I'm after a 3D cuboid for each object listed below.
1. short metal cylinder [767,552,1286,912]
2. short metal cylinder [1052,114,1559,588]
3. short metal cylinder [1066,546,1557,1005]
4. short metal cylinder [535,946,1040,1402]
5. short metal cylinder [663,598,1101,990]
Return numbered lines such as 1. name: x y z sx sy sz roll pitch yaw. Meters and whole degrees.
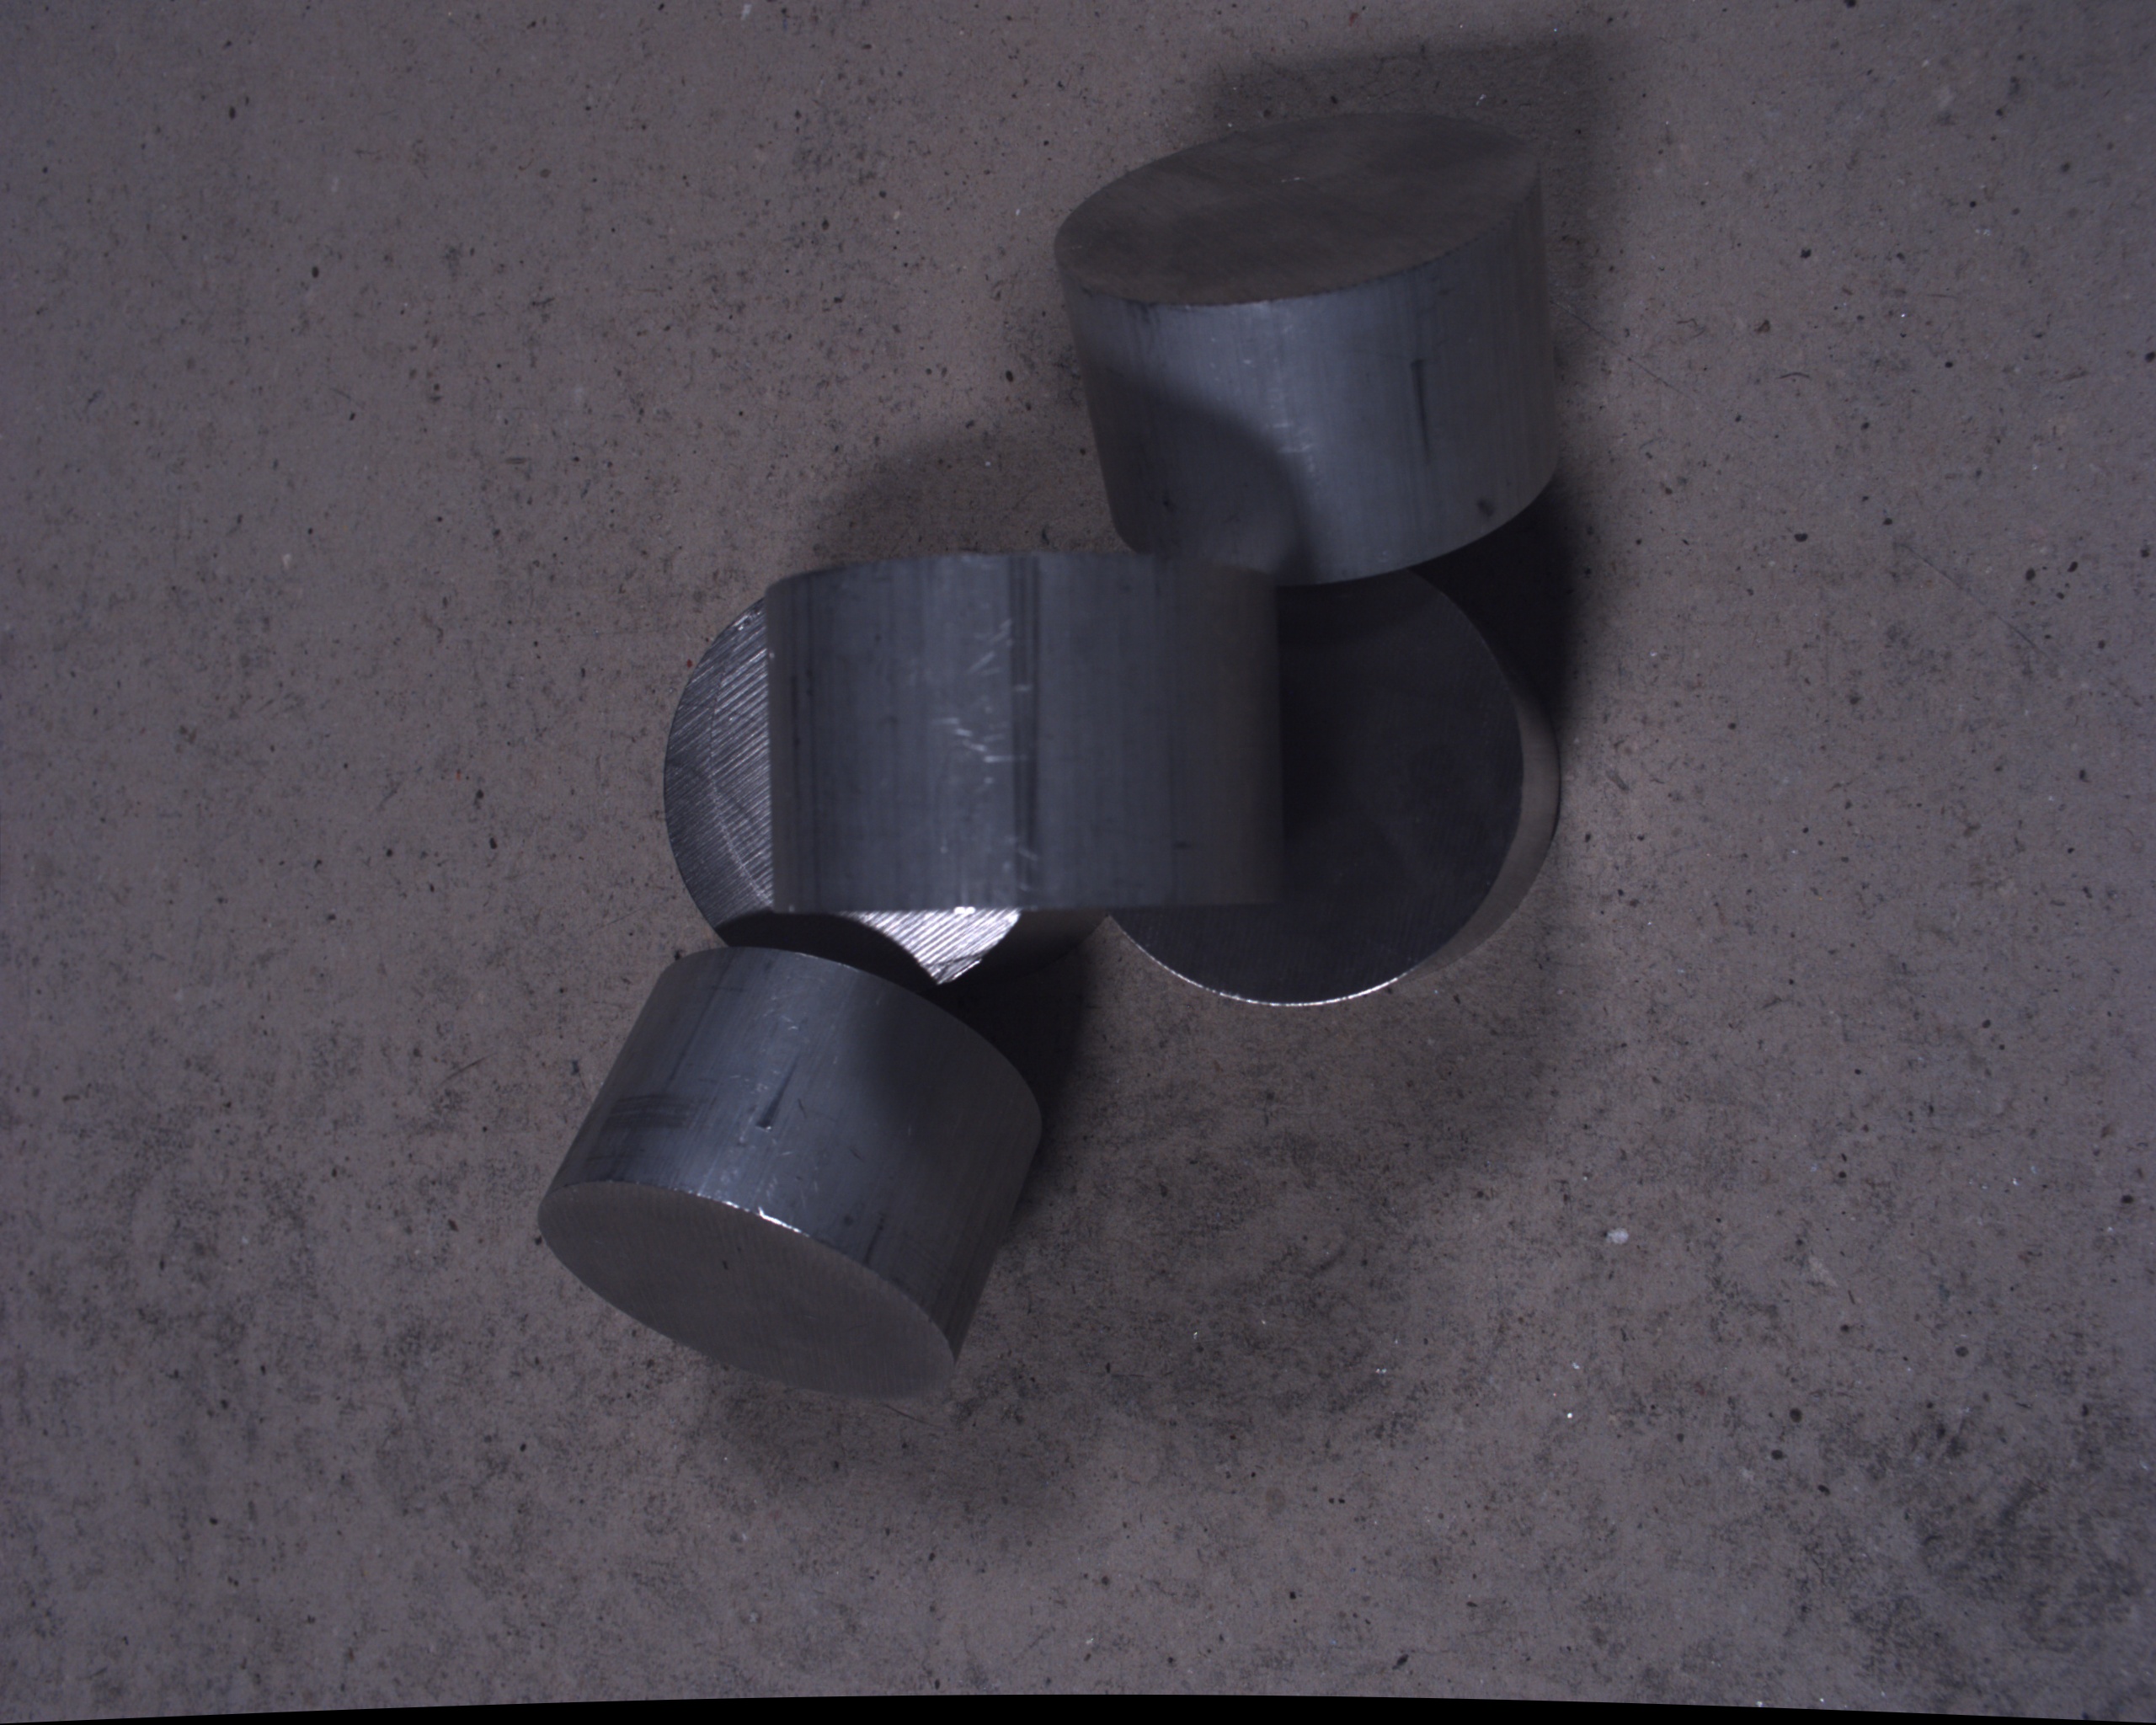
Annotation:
1. short metal cylinder: -0.008 -0.018 0.330 0.080 0.080 0.050 -1 90 19
2. short metal cylinder: 0.040 -0.089 0.359 0.080 0.080 0.050 1 129 19
3. short metal cylinder: 0.044 -0.015 0.380 0.080 0.050 0.079 0 90 19
4. short metal cylinder: -0.053 0.060 0.391 0.080 0.080 0.050 8 54 19
5. short metal cylinder: -0.032 -0.015 0.407 0.080 0.050 0.079 0 90 19
